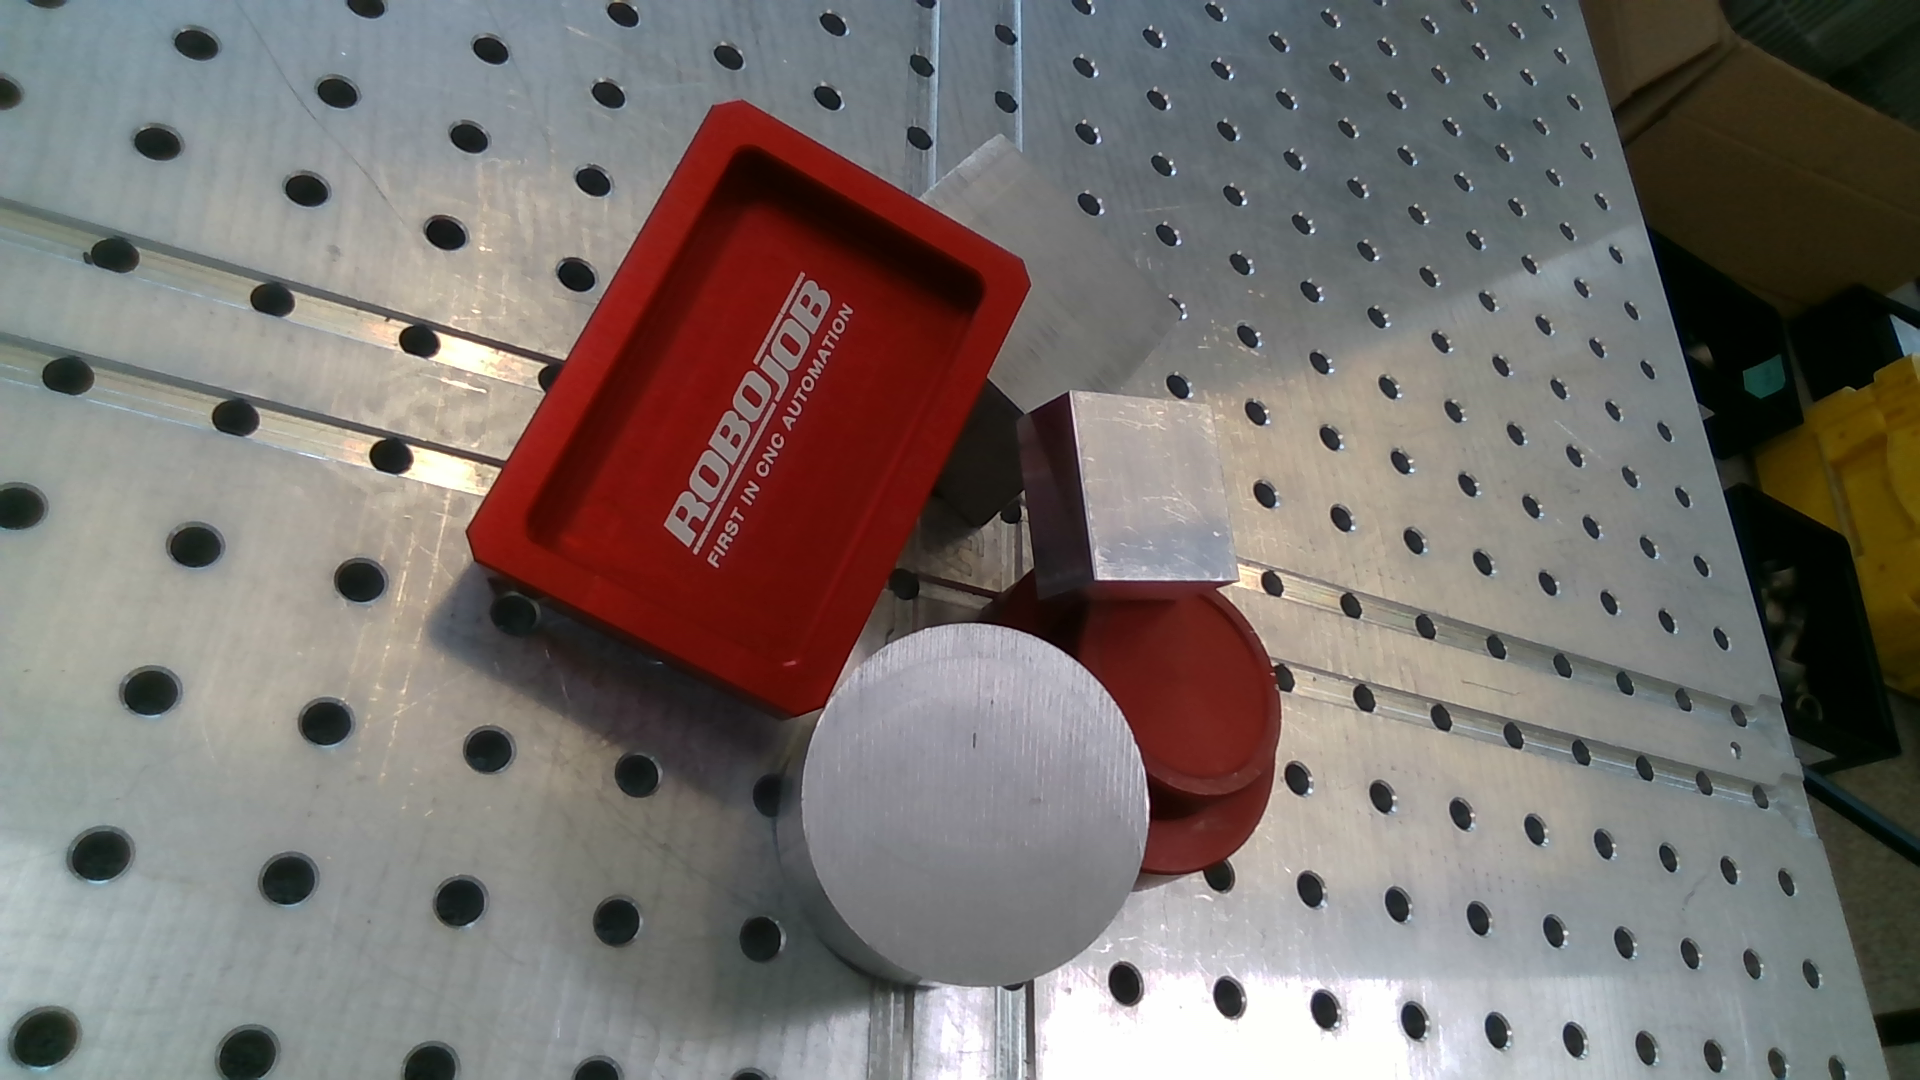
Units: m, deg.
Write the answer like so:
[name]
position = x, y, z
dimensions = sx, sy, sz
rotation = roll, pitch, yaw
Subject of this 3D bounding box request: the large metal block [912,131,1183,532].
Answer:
[large metal block]
position = 0.009, -0.064, 0.420
dimensions = 0.080, 0.050, 0.080
rotation = 44, 51, -4

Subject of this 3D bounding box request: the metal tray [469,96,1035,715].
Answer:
[metal tray]
position = -0.049, -0.032, 0.343
dimensions = 0.090, 0.030, 0.130
rotation = 28, 76, -8

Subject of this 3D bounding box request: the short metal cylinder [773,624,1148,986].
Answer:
[short metal cylinder]
position = -0.002, 0.065, 0.330
dimensions = 0.080, 0.050, 0.080
rotation = 4, 72, -14

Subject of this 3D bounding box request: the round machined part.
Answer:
[round machined part]
position = 0.051, 0.046, 0.392
dimensions = 0.098, 0.042, 0.098
rotation = 14, 59, -25

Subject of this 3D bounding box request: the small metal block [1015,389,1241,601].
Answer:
[small metal block]
position = 0.045, -0.011, 0.370
dimensions = 0.050, 0.025, 0.050
rotation = 2, 75, -34
